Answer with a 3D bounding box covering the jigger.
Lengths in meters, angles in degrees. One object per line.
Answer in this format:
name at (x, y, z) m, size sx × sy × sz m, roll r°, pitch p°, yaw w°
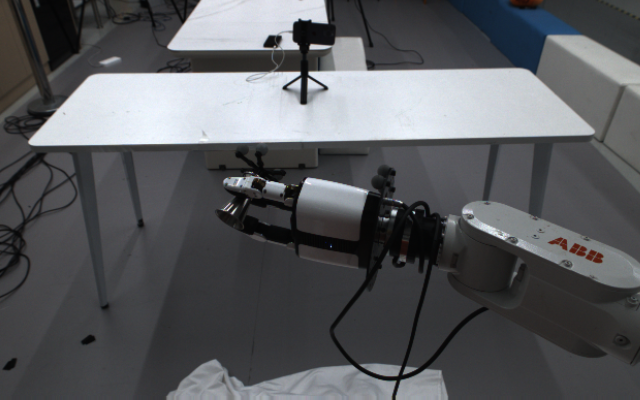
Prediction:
jigger at (-0.105, -0.003, 0.647) m, size 0.043 × 0.043 × 0.071 m, roll 19°, pitch 61°, yaw 23°
